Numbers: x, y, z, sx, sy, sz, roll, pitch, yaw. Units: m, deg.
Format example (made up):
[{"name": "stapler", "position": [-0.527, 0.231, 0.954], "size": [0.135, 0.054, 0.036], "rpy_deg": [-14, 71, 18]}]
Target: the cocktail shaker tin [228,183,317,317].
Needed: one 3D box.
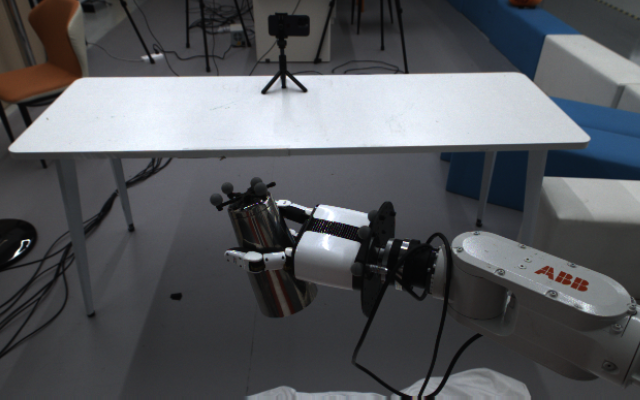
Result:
[{"name": "cocktail shaker tin", "position": [-0.073, 0.076, 0.707], "size": [0.093, 0.170, 0.093], "rpy_deg": [-17, 21, 7]}]
